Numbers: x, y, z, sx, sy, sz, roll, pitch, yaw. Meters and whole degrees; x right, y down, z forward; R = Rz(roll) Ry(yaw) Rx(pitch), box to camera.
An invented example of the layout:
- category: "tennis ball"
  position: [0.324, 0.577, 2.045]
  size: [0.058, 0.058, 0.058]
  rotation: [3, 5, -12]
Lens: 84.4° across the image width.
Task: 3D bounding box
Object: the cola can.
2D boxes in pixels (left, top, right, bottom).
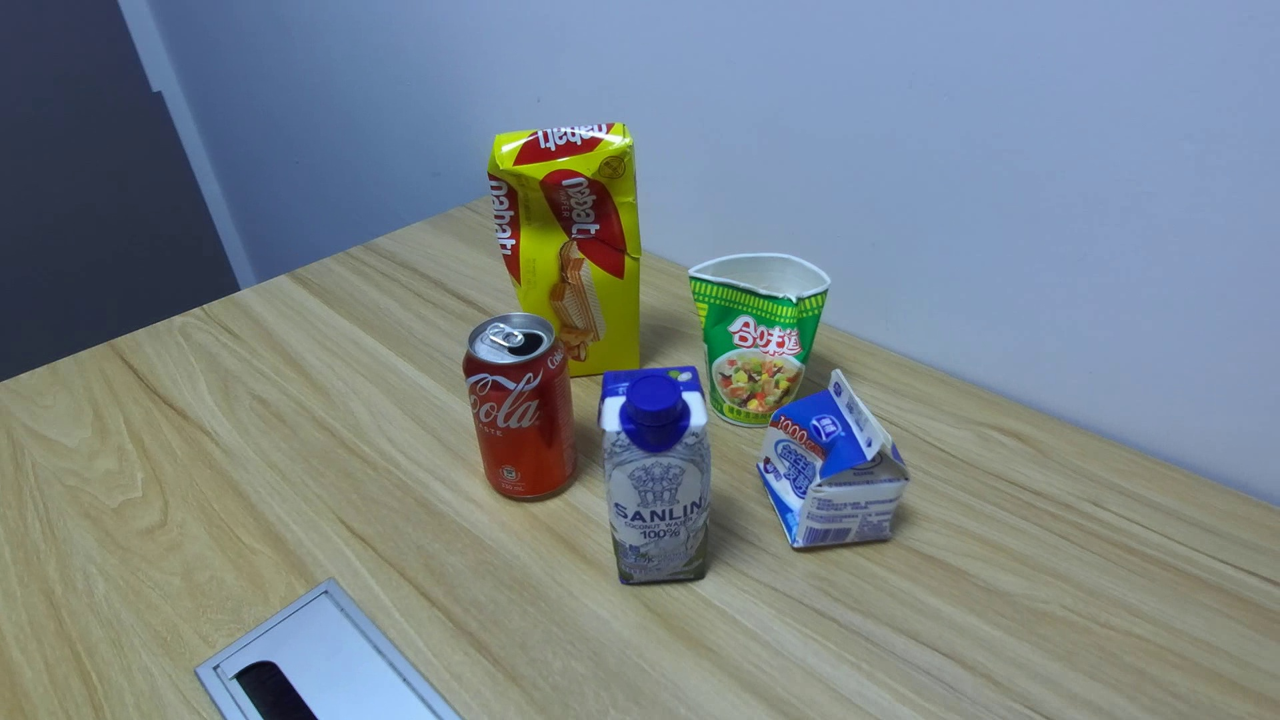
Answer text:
- category: "cola can"
  position: [-0.078, 0.032, 0.473]
  size: [0.068, 0.120, 0.067]
  rotation: [-2, 35, 2]

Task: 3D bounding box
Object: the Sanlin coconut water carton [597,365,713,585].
- category: "Sanlin coconut water carton"
  position: [0.010, 0.063, 0.401]
  size: [0.060, 0.144, 0.060]
  rotation: [-4, 36, -2]

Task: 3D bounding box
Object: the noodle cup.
- category: "noodle cup"
  position: [0.090, -0.013, 0.529]
  size: [0.075, 0.122, 0.082]
  rotation: [-21, 31, -36]

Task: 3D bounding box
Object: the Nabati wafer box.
- category: "Nabati wafer box"
  position: [-0.053, -0.077, 0.543]
  size: [0.107, 0.204, 0.042]
  rotation: [-5, 38, -4]

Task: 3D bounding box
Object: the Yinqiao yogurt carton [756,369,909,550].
- category: "Yinqiao yogurt carton"
  position: [0.124, 0.061, 0.444]
  size: [0.071, 0.094, 0.077]
  rotation: [-3, 36, -10]
